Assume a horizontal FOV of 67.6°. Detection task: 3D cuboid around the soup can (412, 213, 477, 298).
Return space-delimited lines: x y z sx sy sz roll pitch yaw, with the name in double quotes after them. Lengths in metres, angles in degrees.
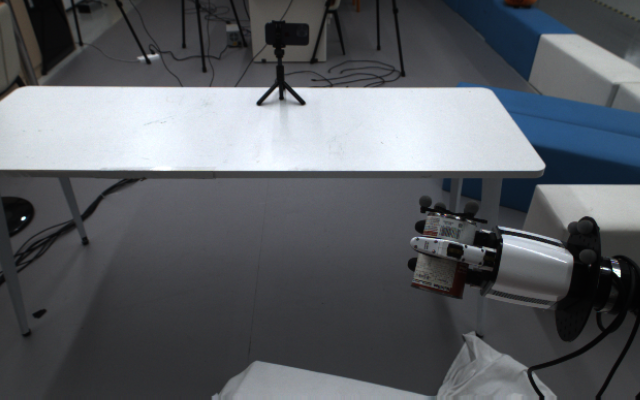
0.167 0.073 0.643 0.067 0.101 0.067 13 -6 1 "soup can"
